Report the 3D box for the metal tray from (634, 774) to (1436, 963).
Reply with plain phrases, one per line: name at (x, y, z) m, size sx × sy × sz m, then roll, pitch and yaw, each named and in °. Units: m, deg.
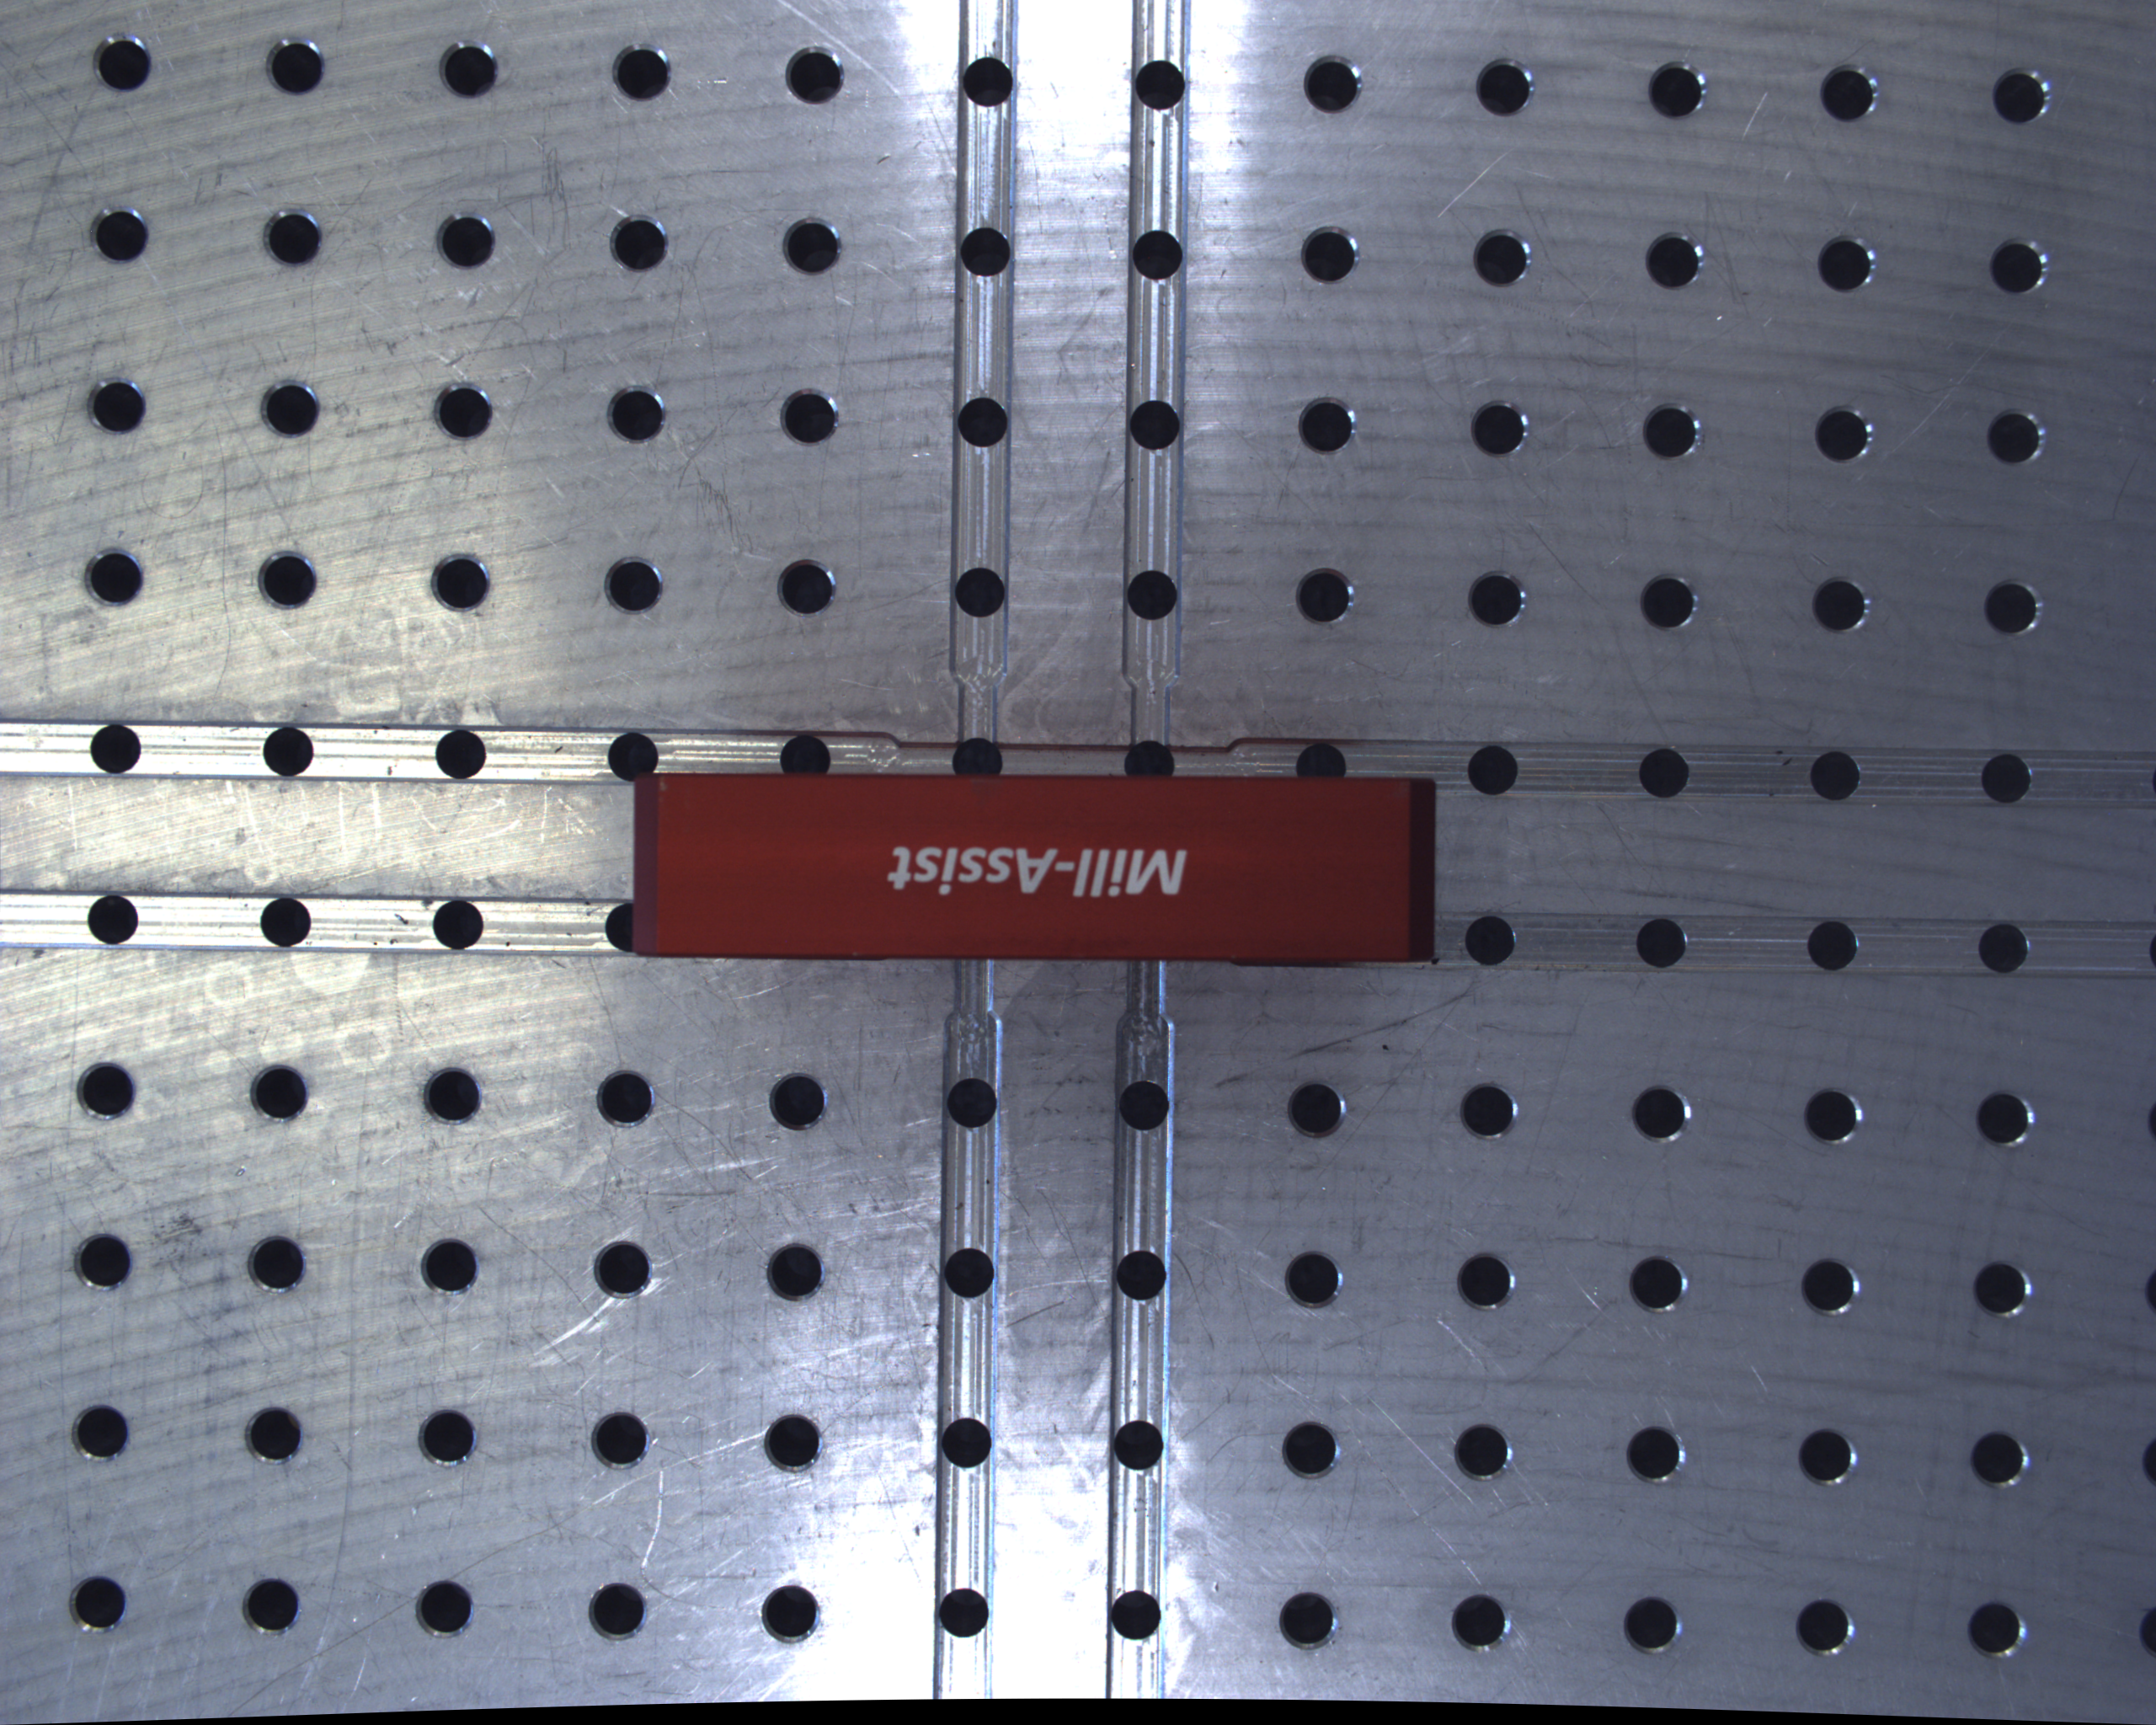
metal tray at (-0.007, 0.001, 0.380) m, size 0.131 × 0.090 × 0.030 m, roll 0°, pitch 90°, yaw 0°
